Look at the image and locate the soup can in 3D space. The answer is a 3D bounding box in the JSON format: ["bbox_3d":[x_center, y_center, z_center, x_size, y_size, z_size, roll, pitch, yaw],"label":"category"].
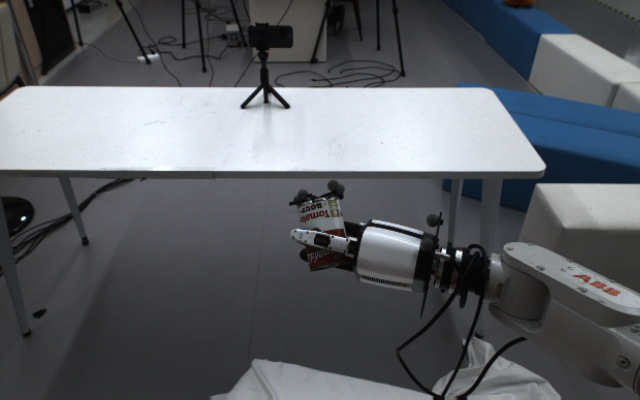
[{"bbox_3d":[0.008,0.053,0.741,0.067,0.067,0.101,-10,80,-16],"label":"soup can"}]
